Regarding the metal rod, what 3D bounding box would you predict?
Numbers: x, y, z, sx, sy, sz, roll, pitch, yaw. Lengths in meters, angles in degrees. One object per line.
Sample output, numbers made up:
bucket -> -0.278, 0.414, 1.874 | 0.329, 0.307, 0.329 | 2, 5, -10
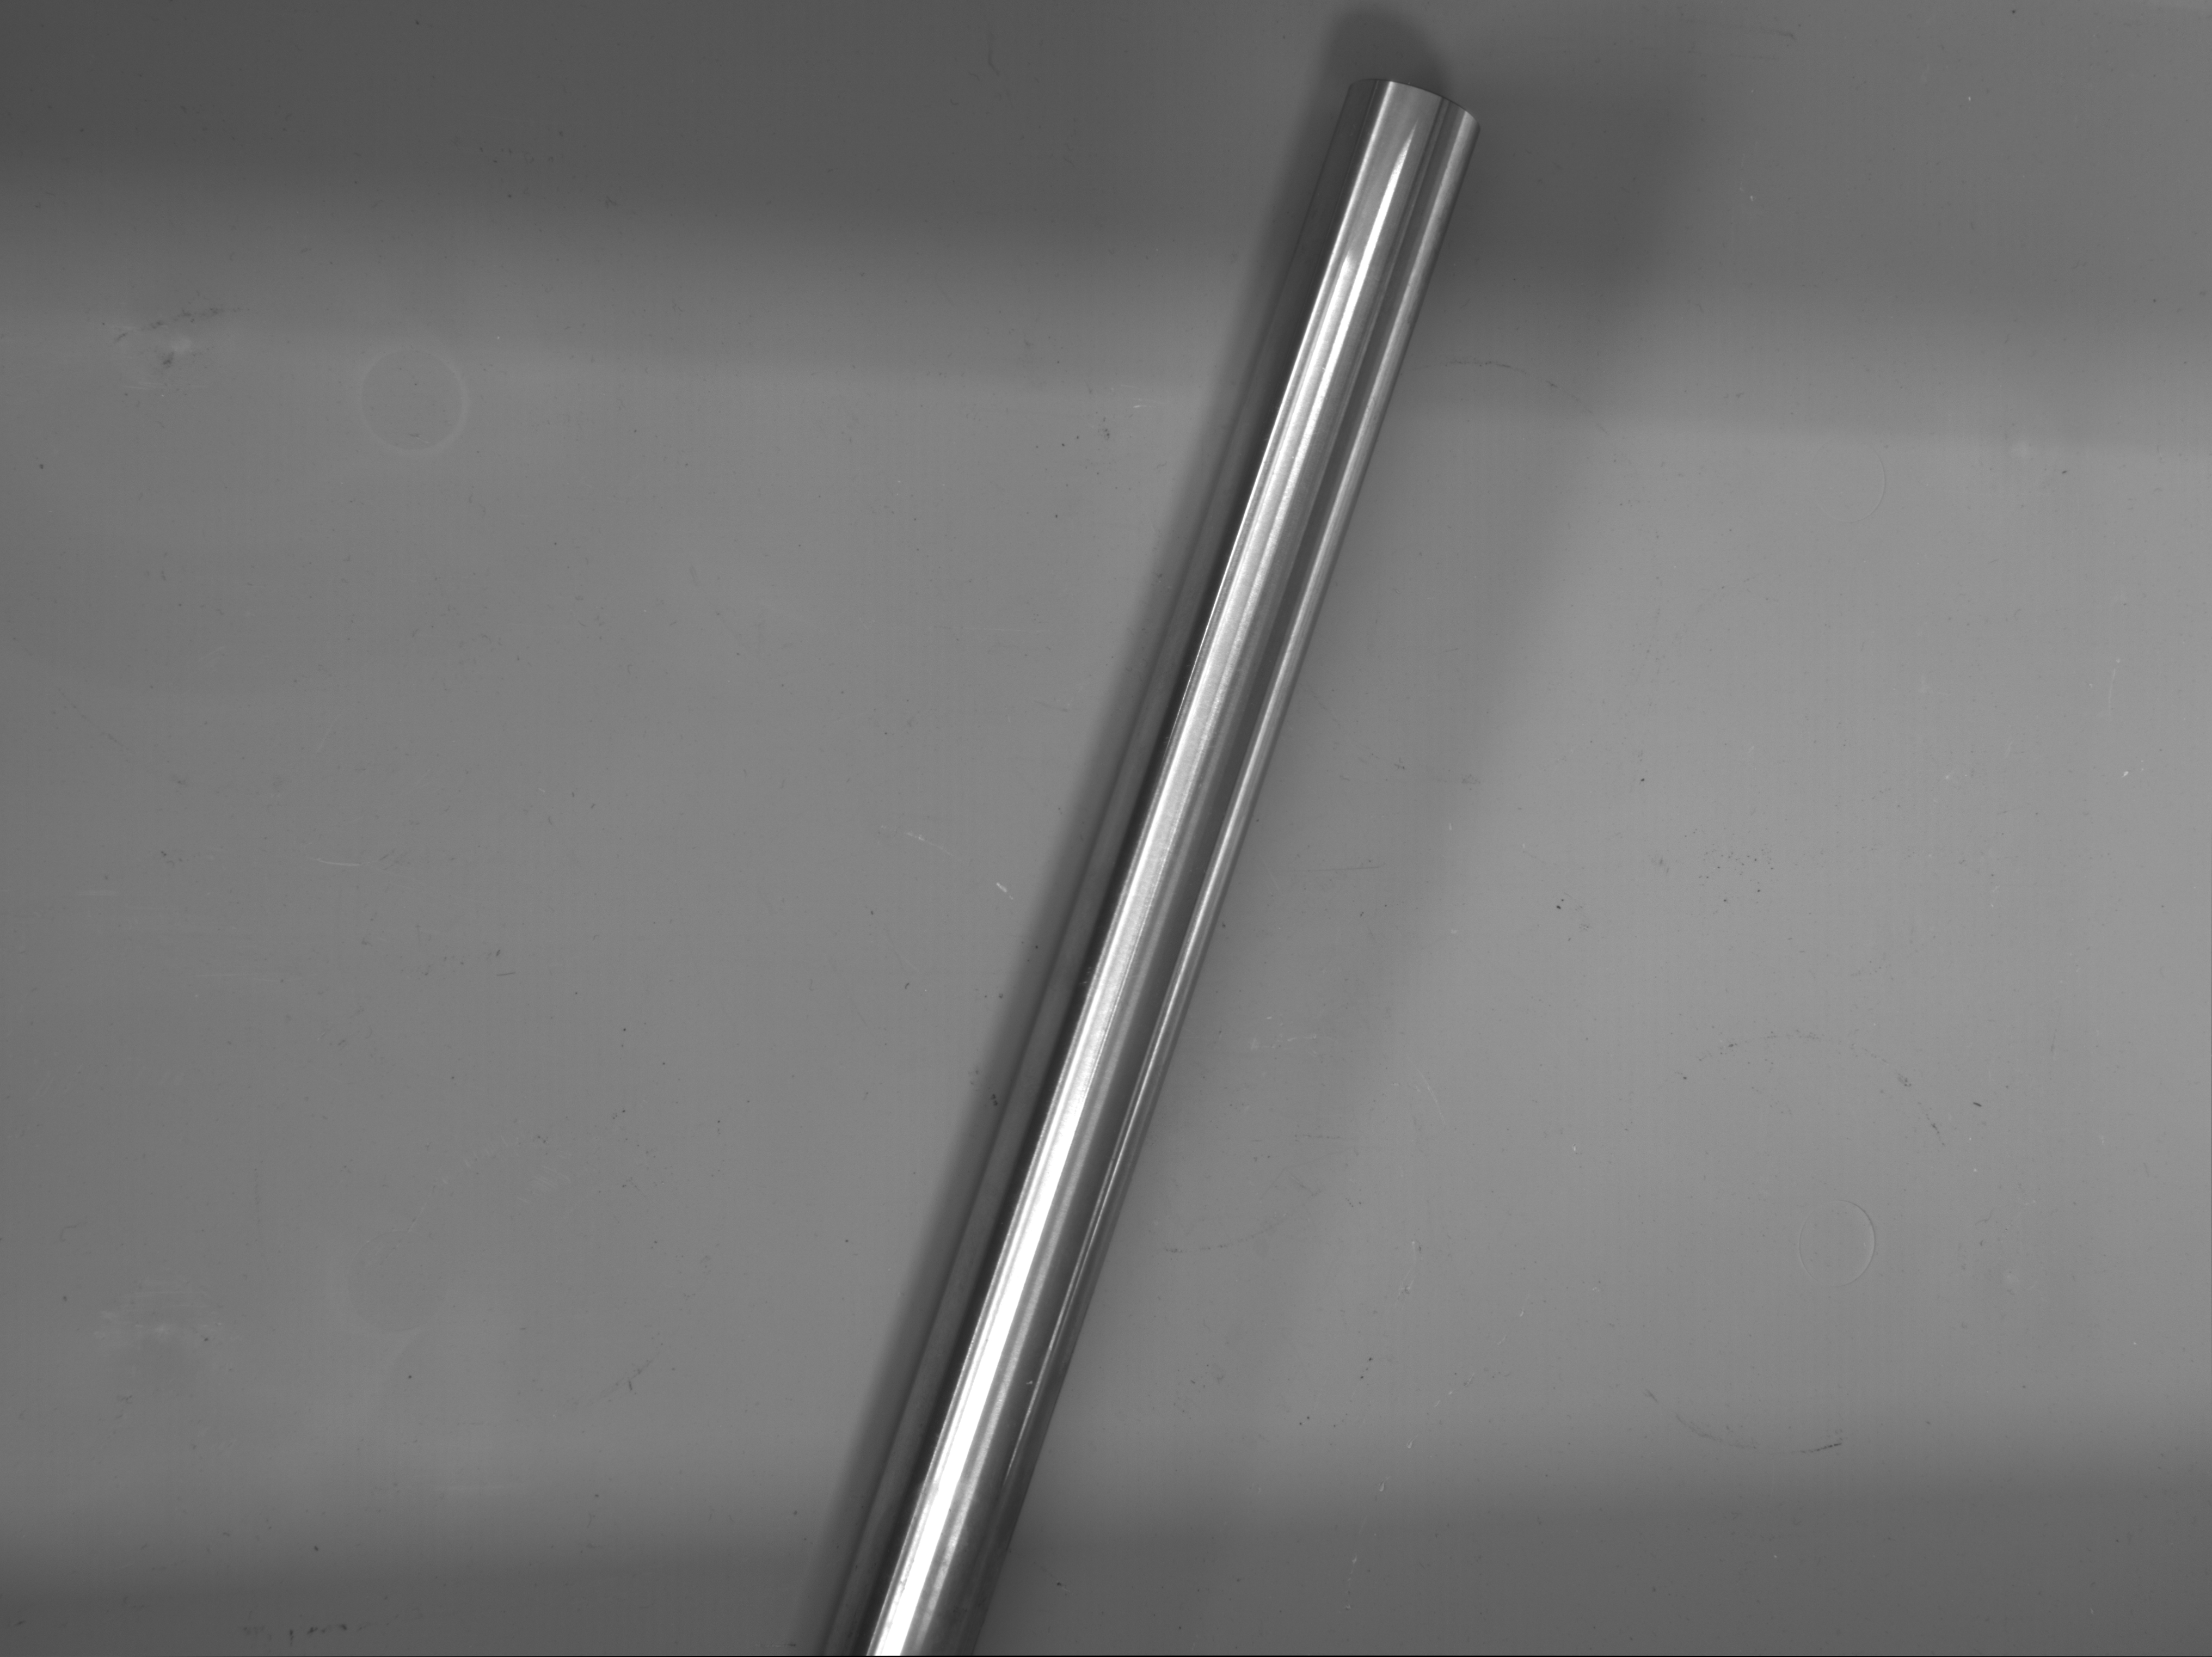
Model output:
metal rod -> 0.007, 0.012, 0.644 | 0.025, 0.025, 0.300 | 21, 83, -19
